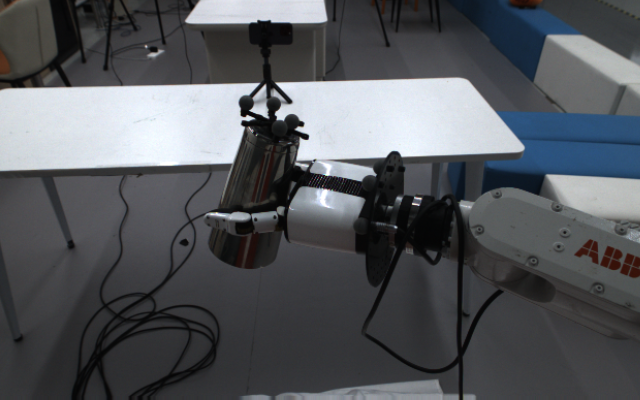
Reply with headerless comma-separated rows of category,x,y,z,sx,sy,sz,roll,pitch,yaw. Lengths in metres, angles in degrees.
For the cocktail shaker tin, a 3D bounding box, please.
cocktail shaker tin,-0.077,-0.012,0.603,0.093,0.170,0.093,14,27,-7
